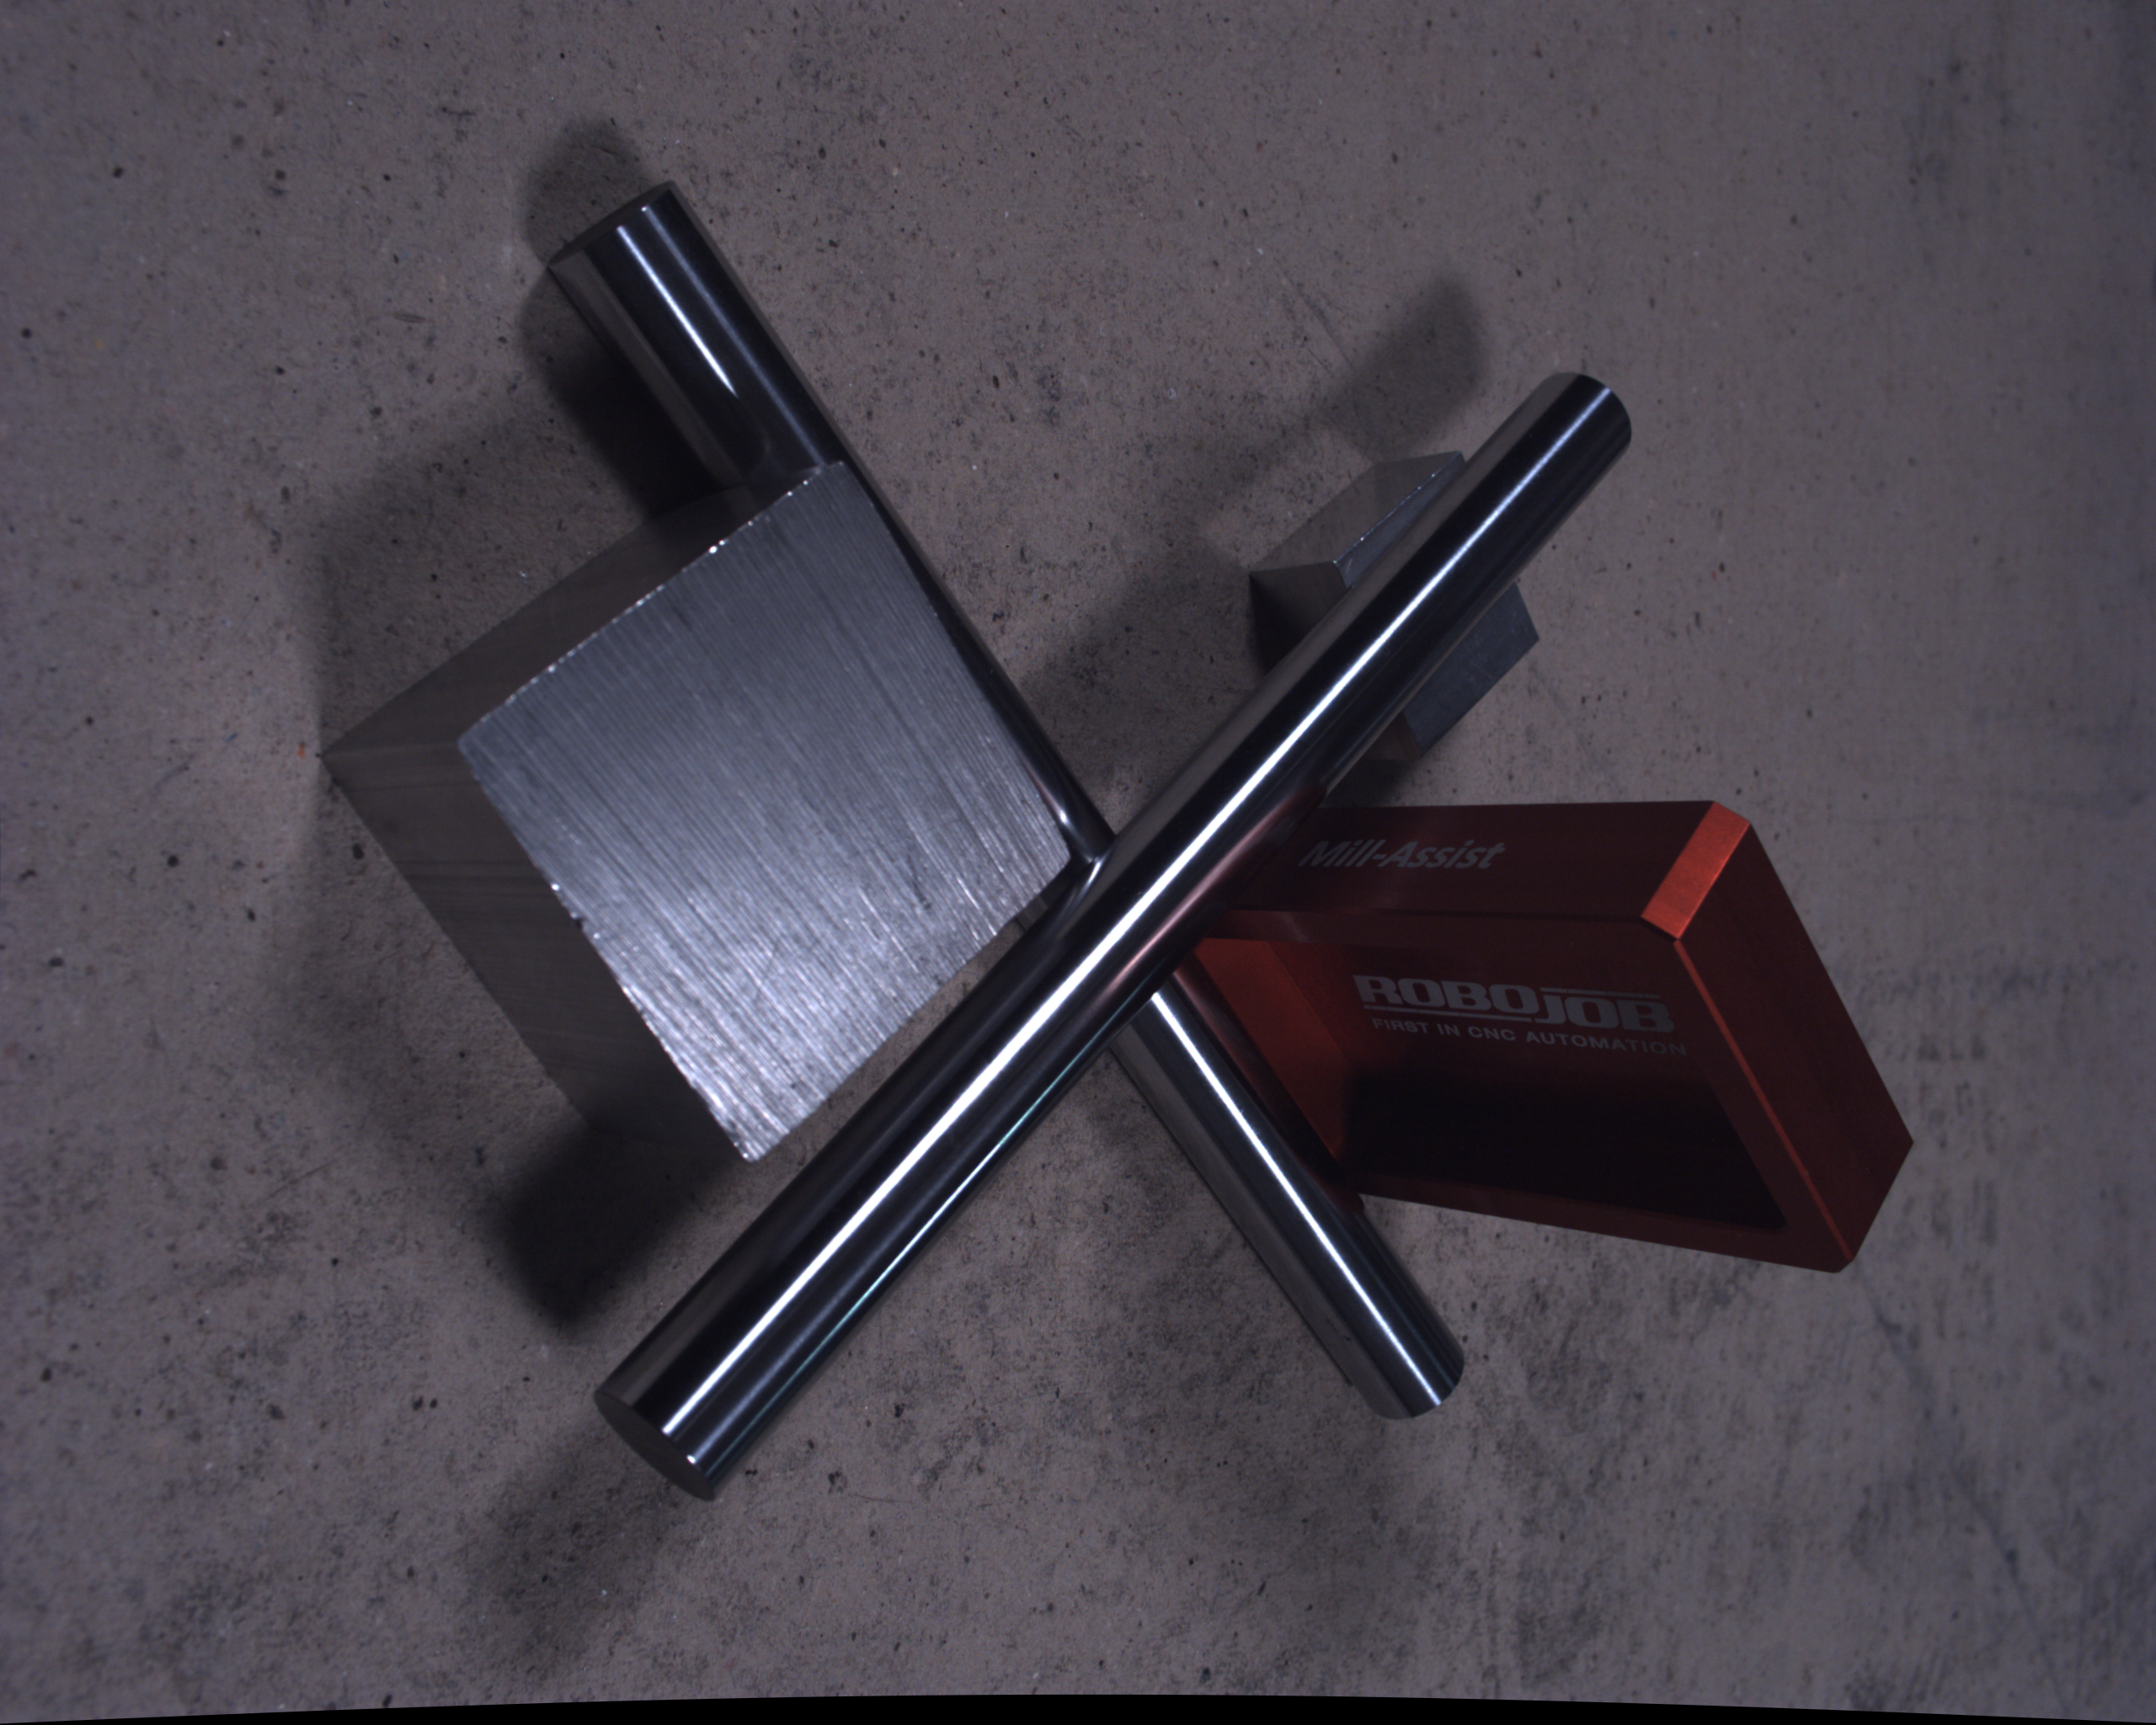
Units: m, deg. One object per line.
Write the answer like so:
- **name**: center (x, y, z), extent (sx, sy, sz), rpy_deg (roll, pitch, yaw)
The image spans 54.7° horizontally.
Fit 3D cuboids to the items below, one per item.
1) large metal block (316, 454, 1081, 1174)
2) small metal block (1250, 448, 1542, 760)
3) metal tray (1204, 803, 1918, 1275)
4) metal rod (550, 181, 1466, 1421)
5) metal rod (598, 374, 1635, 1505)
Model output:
- **large metal block**: center (-0.059, -0.009, 0.341), extent (0.080, 0.050, 0.080), rpy_deg (-44, 117, -31)
- **small metal block**: center (0.073, -0.058, 0.469), extent (0.050, 0.025, 0.050), rpy_deg (-43, 116, -32)
- **metal tray**: center (0.084, 0.032, 0.410), extent (0.030, 0.130, 0.090), rpy_deg (-50, 120, -28)
- **metal rod**: center (0.000, 0.006, 0.408), extent (0.025, 0.025, 0.299), rpy_deg (-50, 120, -29)
- **metal rod**: center (0.025, -0.005, 0.396), extent (0.301, 0.025, 0.025), rpy_deg (-47, 118, -30)
